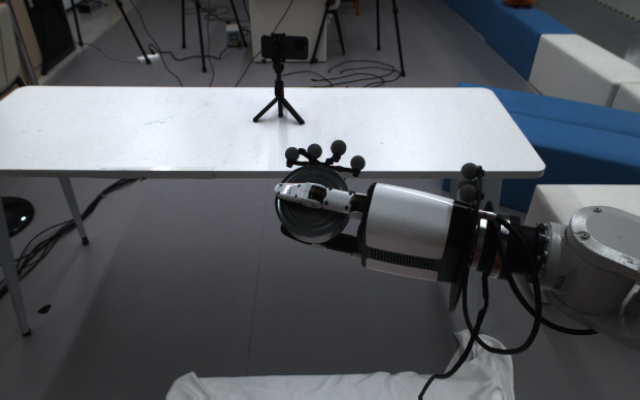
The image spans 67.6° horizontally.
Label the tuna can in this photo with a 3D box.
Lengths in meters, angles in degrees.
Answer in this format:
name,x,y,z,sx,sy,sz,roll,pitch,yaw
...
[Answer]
name,x,y,z,sx,sy,sz,roll,pitch,yaw
tuna can,-0.005,0.003,0.554,0.085,0.034,0.085,-3,69,7
